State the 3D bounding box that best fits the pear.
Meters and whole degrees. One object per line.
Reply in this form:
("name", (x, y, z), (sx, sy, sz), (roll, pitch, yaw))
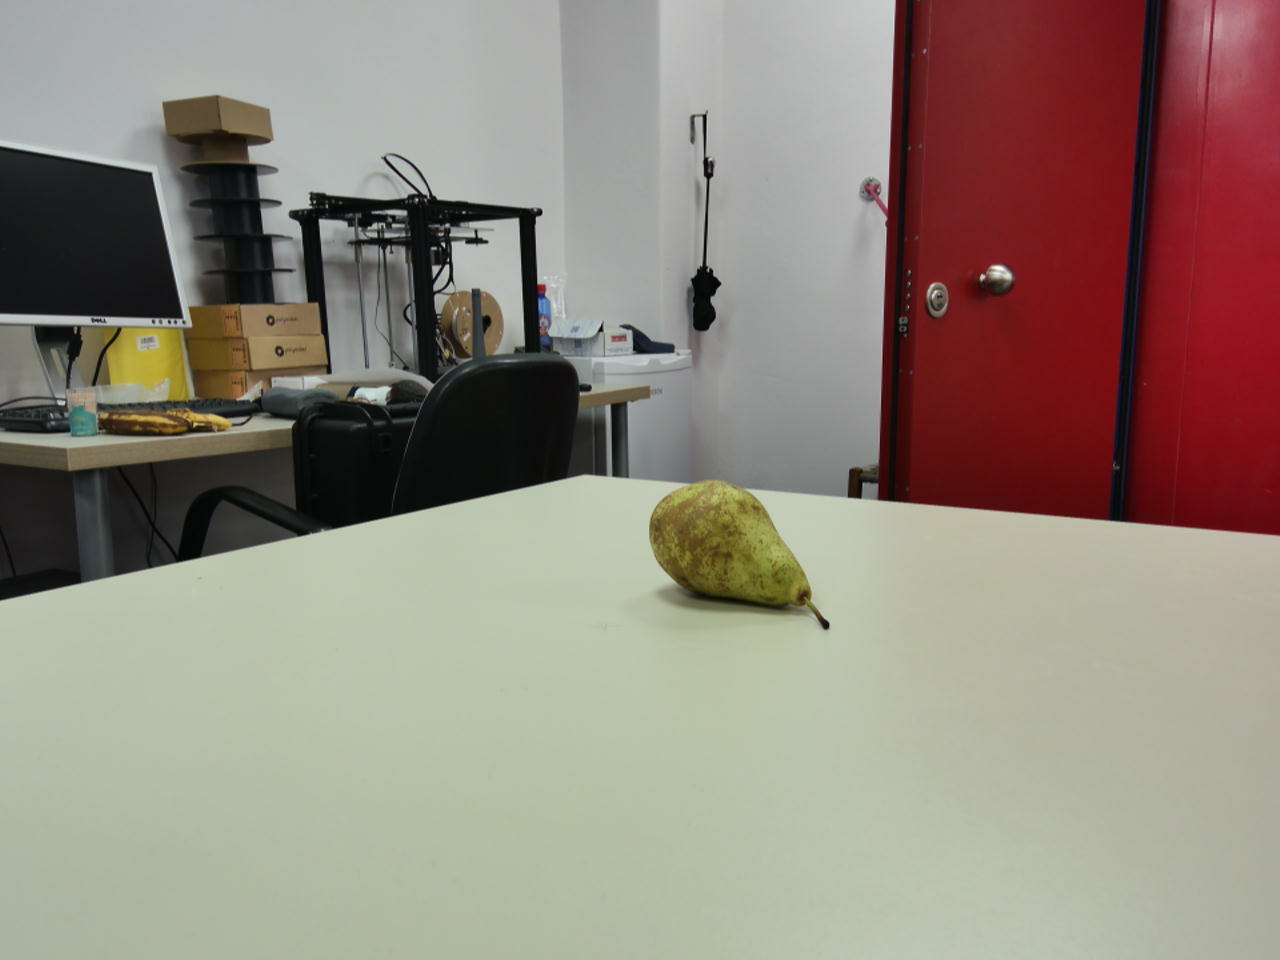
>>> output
("pear", (0.064, 0.039, 0.612), (0.128, 0.075, 0.071), (4, 8, 26))
